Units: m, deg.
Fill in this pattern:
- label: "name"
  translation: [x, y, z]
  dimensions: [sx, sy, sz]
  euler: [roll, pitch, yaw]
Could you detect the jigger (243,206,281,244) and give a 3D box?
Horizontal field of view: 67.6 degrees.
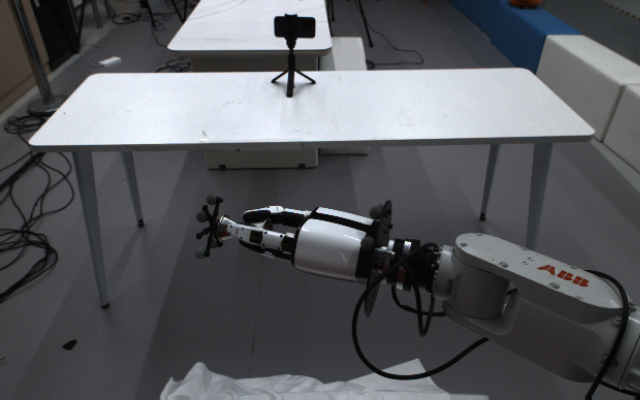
- label: "jigger"
  translation: [-0.101, 0.041, 0.693]
  dimensions: [0.071, 0.043, 0.043]
  euler: [6, 35, 14]
